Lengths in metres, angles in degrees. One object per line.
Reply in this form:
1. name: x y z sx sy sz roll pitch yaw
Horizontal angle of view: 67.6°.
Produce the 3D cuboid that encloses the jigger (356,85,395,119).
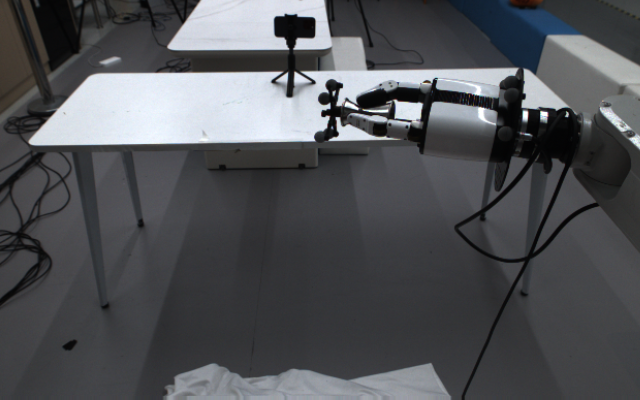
1. jigger: 0.072 -0.122 0.670 0.071 0.043 0.043 9 35 17
